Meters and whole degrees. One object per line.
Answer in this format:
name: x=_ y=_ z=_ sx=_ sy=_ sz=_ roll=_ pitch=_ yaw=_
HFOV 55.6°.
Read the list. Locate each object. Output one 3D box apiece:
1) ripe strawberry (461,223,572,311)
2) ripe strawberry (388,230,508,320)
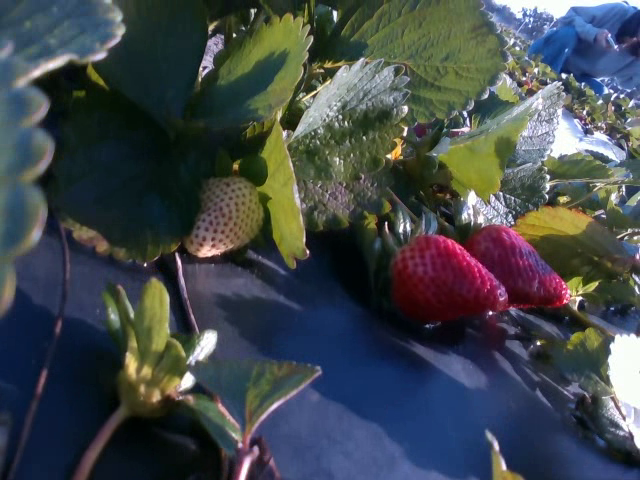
ripe strawberry: x=0.088 y=0.017 z=0.272 sx=0.057 sy=0.046 sz=0.052 roll=27 pitch=44 yaw=30
ripe strawberry: x=0.051 y=0.017 z=0.231 sx=0.051 sy=0.037 sz=0.043 roll=24 pitch=50 yaw=24
